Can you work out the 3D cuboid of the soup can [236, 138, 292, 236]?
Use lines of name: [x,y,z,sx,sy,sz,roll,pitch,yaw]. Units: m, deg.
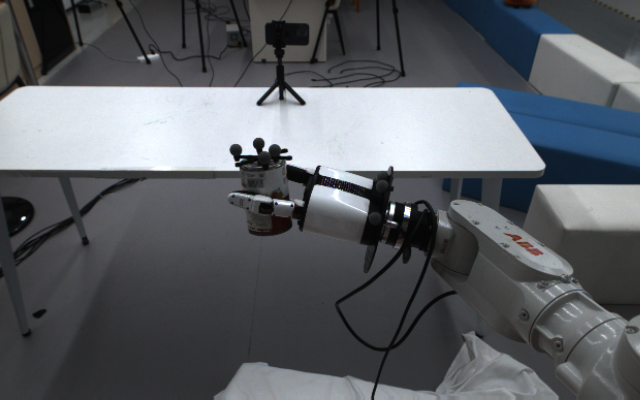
soup can: [-0.076,-0.006,0.698,0.067,0.101,0.067,-4,21,1]
